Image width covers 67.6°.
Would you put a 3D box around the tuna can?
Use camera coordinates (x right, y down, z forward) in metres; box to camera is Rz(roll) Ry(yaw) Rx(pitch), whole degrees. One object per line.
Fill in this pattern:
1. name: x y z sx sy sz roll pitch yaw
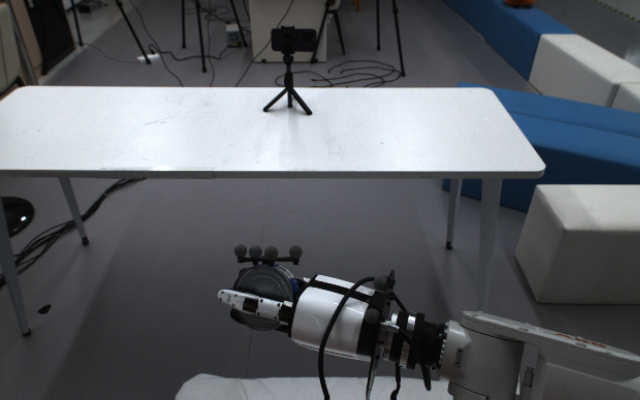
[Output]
1. tuna can: -0.068 0.127 0.638 0.085 0.085 0.034 15 1 18
